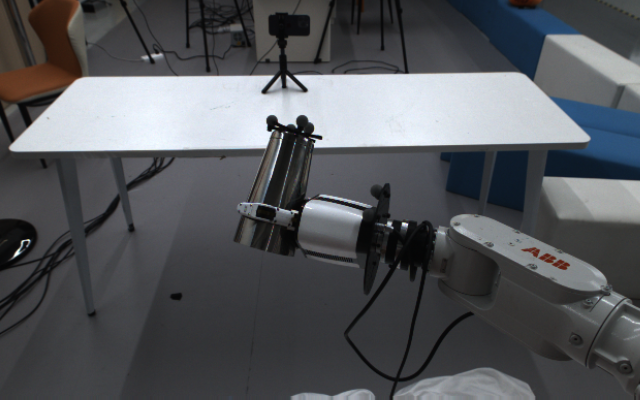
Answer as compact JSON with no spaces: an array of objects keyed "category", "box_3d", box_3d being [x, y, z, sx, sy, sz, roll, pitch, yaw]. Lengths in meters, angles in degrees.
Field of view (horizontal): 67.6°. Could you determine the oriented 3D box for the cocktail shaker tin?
[{"category":"cocktail shaker tin","box_3d":[-0.062,-0.011,0.713,0.093,0.170,0.093,15,-4,1]}]
